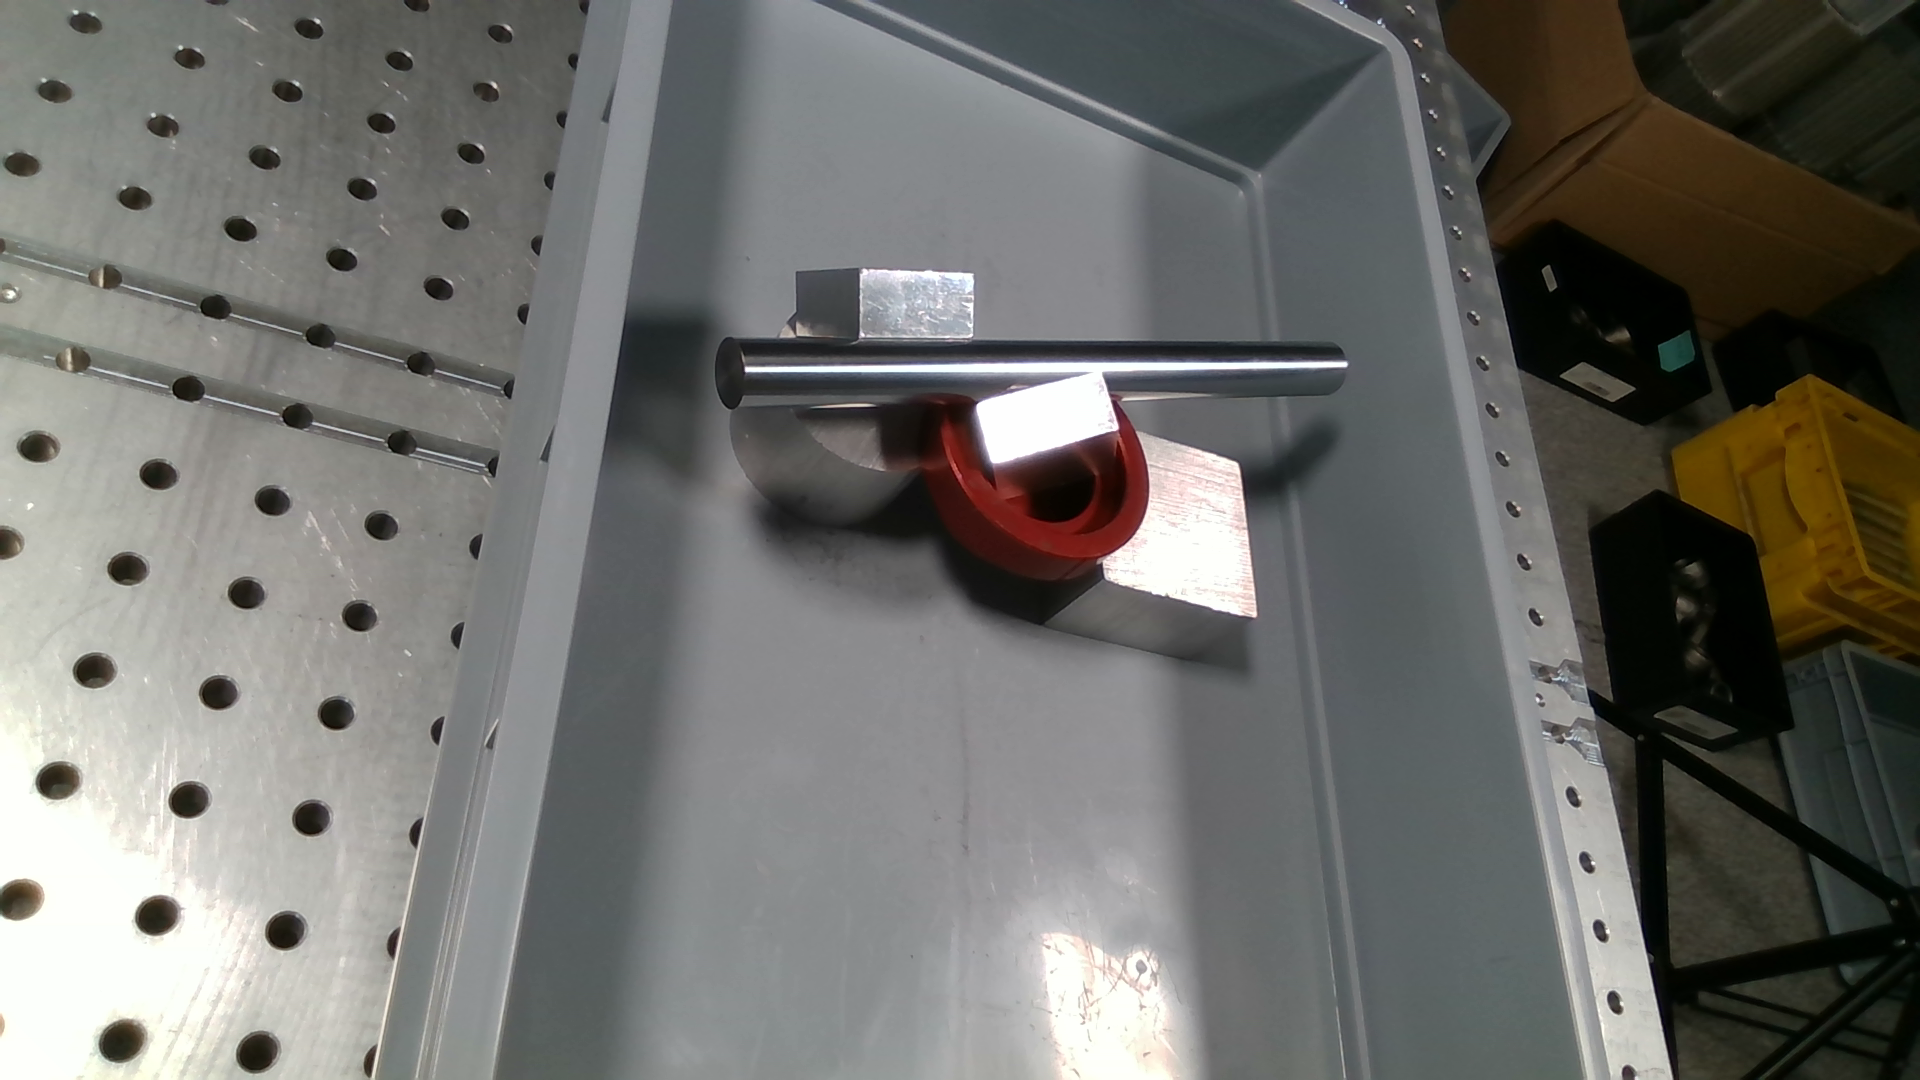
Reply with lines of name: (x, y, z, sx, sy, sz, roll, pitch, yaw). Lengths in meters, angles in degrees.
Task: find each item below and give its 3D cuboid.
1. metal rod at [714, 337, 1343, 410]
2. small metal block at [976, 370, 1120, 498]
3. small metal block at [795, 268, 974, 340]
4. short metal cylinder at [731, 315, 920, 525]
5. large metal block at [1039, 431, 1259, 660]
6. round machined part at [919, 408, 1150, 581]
metal rod: (0.044, -0.069, 0.559, 0.300, 0.025, 0.025, -5, 68, -33)
small metal block: (0.035, -0.041, 0.550, 0.050, 0.050, 0.025, -15, 74, 0)
small metal block: (-0.030, -0.091, 0.532, 0.050, 0.050, 0.025, -5, 101, -34)
short metal cylinder: (-0.049, -0.052, 0.568, 0.080, 0.050, 0.080, 14, 59, -25)
large metal block: (0.082, 0.001, 0.617, 0.080, 0.050, 0.080, 14, 59, -25)
round machined part: (0.026, -0.027, 0.567, 0.098, 0.042, 0.098, 14, 59, -25)
